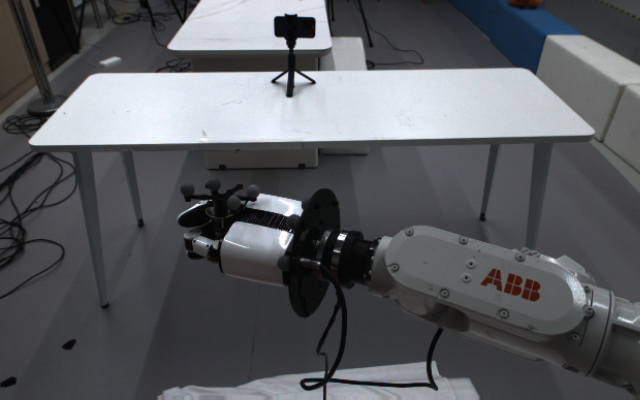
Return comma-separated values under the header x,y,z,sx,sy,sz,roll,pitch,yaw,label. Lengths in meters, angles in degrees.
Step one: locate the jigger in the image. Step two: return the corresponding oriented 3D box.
x,y,z,sx,sy,sz,roll,pitch,yaw,label
-0.123,0.043,0.634,0.043,0.071,0.043,3,25,-1,jigger
